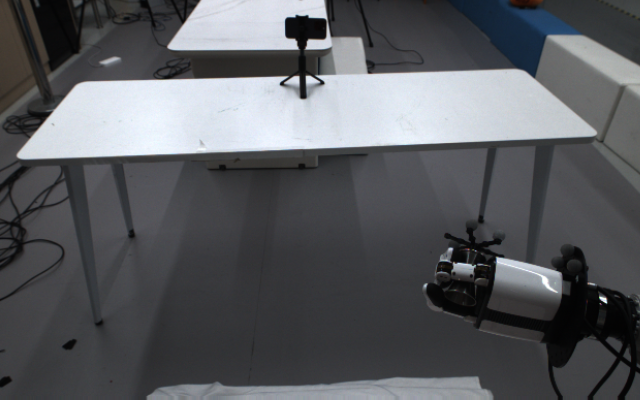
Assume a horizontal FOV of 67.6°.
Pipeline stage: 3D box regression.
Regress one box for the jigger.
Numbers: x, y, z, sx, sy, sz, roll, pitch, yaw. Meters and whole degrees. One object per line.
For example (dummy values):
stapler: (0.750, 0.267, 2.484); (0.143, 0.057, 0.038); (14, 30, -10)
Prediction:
jigger: (0.203, 0.103, 0.670); (0.043, 0.043, 0.071); (16, 59, 19)
